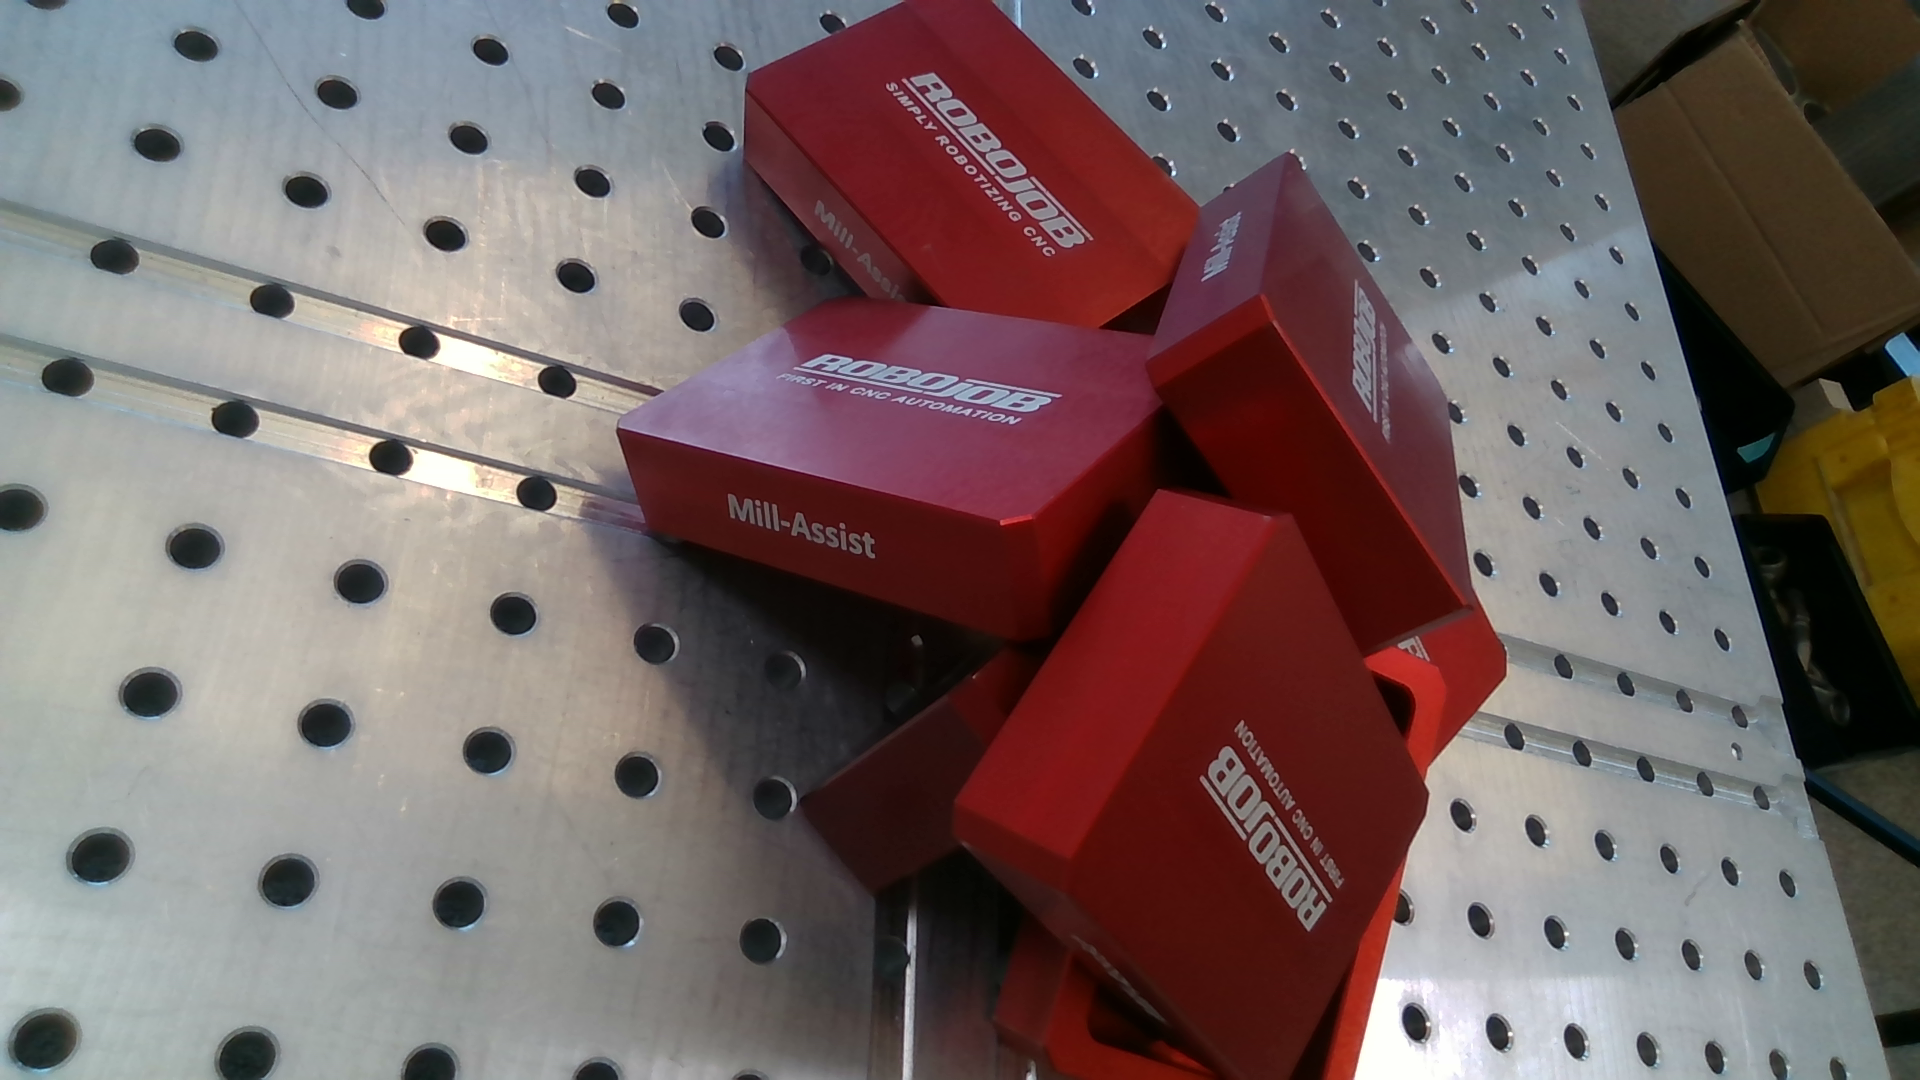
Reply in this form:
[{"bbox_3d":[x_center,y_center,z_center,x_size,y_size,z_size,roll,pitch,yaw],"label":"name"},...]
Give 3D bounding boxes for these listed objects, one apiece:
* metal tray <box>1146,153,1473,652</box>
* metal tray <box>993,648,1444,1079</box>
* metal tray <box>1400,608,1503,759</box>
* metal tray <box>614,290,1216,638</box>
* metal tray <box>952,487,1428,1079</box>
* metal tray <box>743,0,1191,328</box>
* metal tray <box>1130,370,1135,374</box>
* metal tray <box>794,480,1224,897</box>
[{"bbox_3d":[0.093,-0.041,0.358,0.090,0.030,0.130,52,29,-15],"label":"metal tray"},{"bbox_3d":[0.071,0.081,0.365,0.090,0.030,0.130,24,75,-20],"label":"metal tray"},{"bbox_3d":[0.115,0.009,0.434,0.090,0.030,0.130,-35,100,-37],"label":"metal tray"},{"bbox_3d":[-0.010,-0.026,0.344,0.090,0.130,0.030,-39,131,-39],"label":"metal tray"},{"bbox_3d":[0.060,0.062,0.315,0.090,0.030,0.130,-55,135,-18],"label":"metal tray"},{"bbox_3d":[0.006,-0.106,0.424,0.090,0.030,0.130,-34,74,-23],"label":"metal tray"},{"bbox_3d":[0.048,-0.064,0.456,0.130,0.030,0.090,47,51,-2],"label":"metal tray"},{"bbox_3d":[0.026,0.031,0.355,0.030,0.090,0.130,51,50,2],"label":"metal tray"}]
